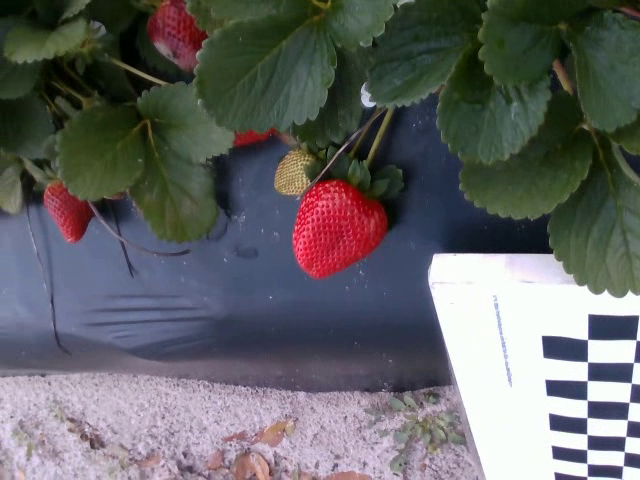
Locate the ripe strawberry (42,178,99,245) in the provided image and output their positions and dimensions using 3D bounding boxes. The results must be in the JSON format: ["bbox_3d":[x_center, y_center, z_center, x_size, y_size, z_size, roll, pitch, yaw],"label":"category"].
[{"bbox_3d":[-0.177,-0.022,0.439,0.043,0.052,0.041,-11,-2,40],"label":"ripe strawberry"}]

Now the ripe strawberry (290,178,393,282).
[{"bbox_3d":[0.007,-0.002,0.365,0.056,0.065,0.057,31,-21,-17],"label":"ripe strawberry"}]
